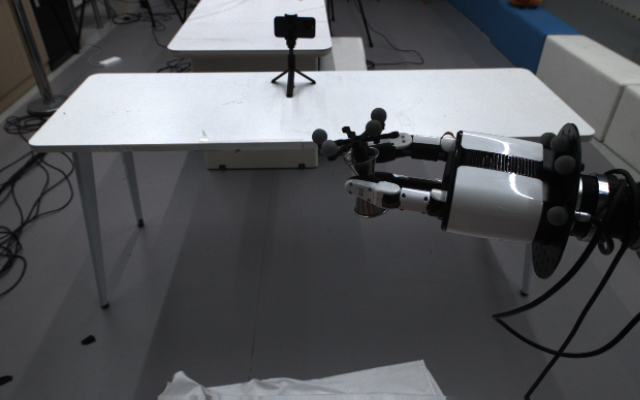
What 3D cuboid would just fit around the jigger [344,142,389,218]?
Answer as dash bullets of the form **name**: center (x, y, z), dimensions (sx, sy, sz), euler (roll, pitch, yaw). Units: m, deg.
- **jigger**: center (0.053, -0.020, 0.540), dimensions (0.043, 0.071, 0.043), euler (-12, 29, 7)
